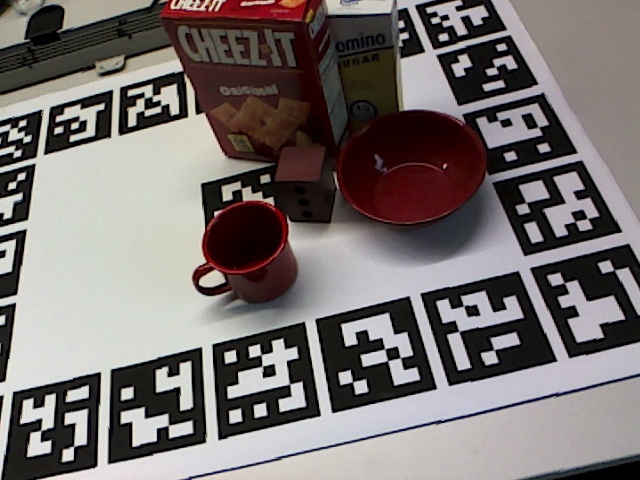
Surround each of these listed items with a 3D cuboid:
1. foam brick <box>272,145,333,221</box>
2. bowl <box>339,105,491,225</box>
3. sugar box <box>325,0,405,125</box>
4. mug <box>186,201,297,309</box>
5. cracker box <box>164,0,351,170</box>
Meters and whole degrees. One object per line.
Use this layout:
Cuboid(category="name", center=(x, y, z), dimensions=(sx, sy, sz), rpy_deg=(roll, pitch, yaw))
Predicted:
Cuboid(category="foam brick", center=(-0.018, -0.065, 0.715), dimensions=(0.053, 0.077, 0.051), rpy_deg=(-2, 55, 14))
Cuboid(category="bowl", center=(0.105, -0.073, 0.684), dimensions=(0.162, 0.055, 0.162), rpy_deg=(-7, 56, 10))
Cuboid(category="sugar box", center=(0.044, -0.210, 0.730), dimensions=(0.093, 0.175, 0.045), rpy_deg=(3, 58, 17))
Cuboid(category="mug", center=(-0.084, 0.024, 0.659), dimensions=(0.117, 0.081, 0.094), rpy_deg=(-23, 46, 1))
Cuboid(category="cracker box", center=(-0.064, -0.181, 0.717), dimensions=(0.165, 0.212, 0.072), rpy_deg=(11, 58, 20))
